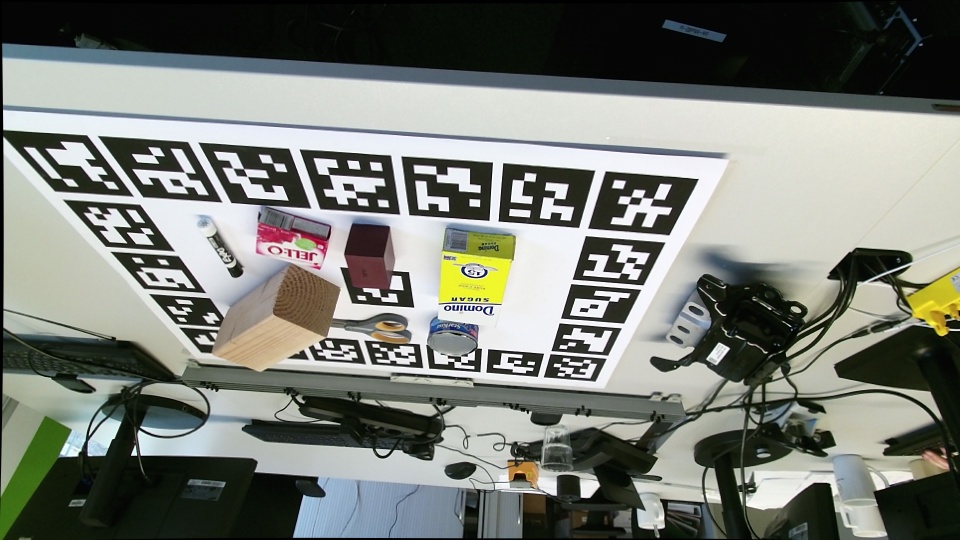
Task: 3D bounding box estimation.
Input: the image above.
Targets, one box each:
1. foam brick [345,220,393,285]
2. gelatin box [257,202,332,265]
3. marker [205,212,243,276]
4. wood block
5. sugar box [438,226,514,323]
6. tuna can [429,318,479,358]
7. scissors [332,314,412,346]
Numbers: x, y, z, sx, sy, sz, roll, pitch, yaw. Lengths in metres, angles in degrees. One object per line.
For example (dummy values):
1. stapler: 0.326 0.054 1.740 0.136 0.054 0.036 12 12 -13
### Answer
1. foam brick: -0.150 -0.023 0.728 0.053 0.051 0.078 5 141 -2
2. gelatin box: -0.253 -0.048 0.730 0.090 0.030 0.073 16 140 -15
3. marker: -0.363 -0.033 0.764 0.020 0.019 0.121 5 140 -1
4. wood block: -0.333 0.076 0.852 0.206 0.090 0.090 -28 133 35
5. sugar box: -0.010 0.012 0.774 0.093 0.045 0.176 7 142 -3
6. tuna can: -0.044 0.113 0.909 0.086 0.033 0.086 2 141 2
7. scissors: -0.217 0.097 0.923 0.203 0.016 0.088 7 142 -7
